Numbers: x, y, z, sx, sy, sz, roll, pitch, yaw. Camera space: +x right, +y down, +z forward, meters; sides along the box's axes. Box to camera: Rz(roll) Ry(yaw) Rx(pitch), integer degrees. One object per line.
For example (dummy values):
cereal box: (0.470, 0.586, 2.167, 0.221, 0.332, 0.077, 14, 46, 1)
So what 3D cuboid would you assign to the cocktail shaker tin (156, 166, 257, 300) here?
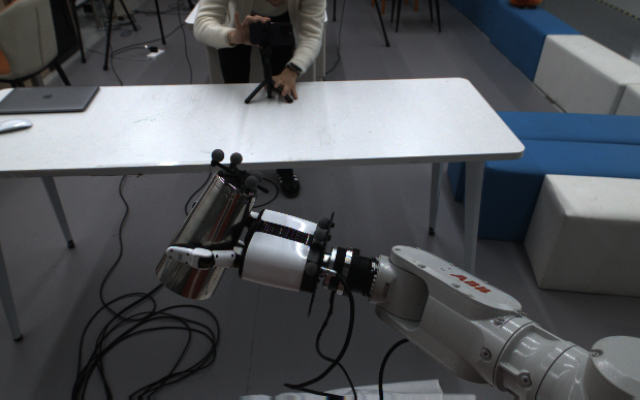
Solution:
cocktail shaker tin: (-0.154, 0.043, 0.686, 0.093, 0.170, 0.093, 28, 14, -8)
